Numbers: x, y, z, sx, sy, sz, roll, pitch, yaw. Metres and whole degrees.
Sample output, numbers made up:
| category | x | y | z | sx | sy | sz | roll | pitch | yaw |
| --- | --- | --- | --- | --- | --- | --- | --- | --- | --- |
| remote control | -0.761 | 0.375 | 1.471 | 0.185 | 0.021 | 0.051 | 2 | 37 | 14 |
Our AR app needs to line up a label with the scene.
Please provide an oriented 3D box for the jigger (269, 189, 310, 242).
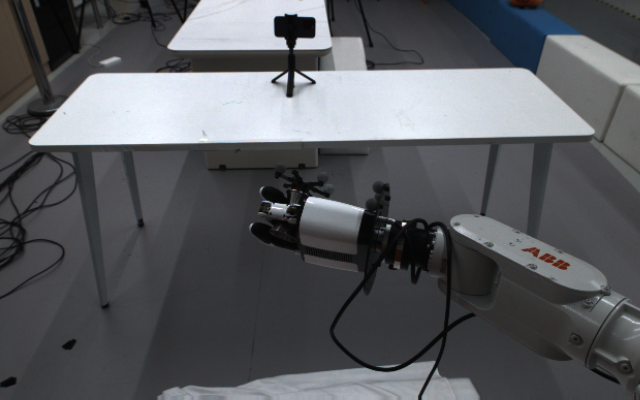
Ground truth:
| category | x | y | z | sx | sy | sz | roll | pitch | yaw |
| --- | --- | --- | --- | --- | --- | --- | --- | --- | --- |
| jigger | -0.040 | 0.023 | 0.711 | 0.043 | 0.043 | 0.071 | 13 | 70 | 16 |
